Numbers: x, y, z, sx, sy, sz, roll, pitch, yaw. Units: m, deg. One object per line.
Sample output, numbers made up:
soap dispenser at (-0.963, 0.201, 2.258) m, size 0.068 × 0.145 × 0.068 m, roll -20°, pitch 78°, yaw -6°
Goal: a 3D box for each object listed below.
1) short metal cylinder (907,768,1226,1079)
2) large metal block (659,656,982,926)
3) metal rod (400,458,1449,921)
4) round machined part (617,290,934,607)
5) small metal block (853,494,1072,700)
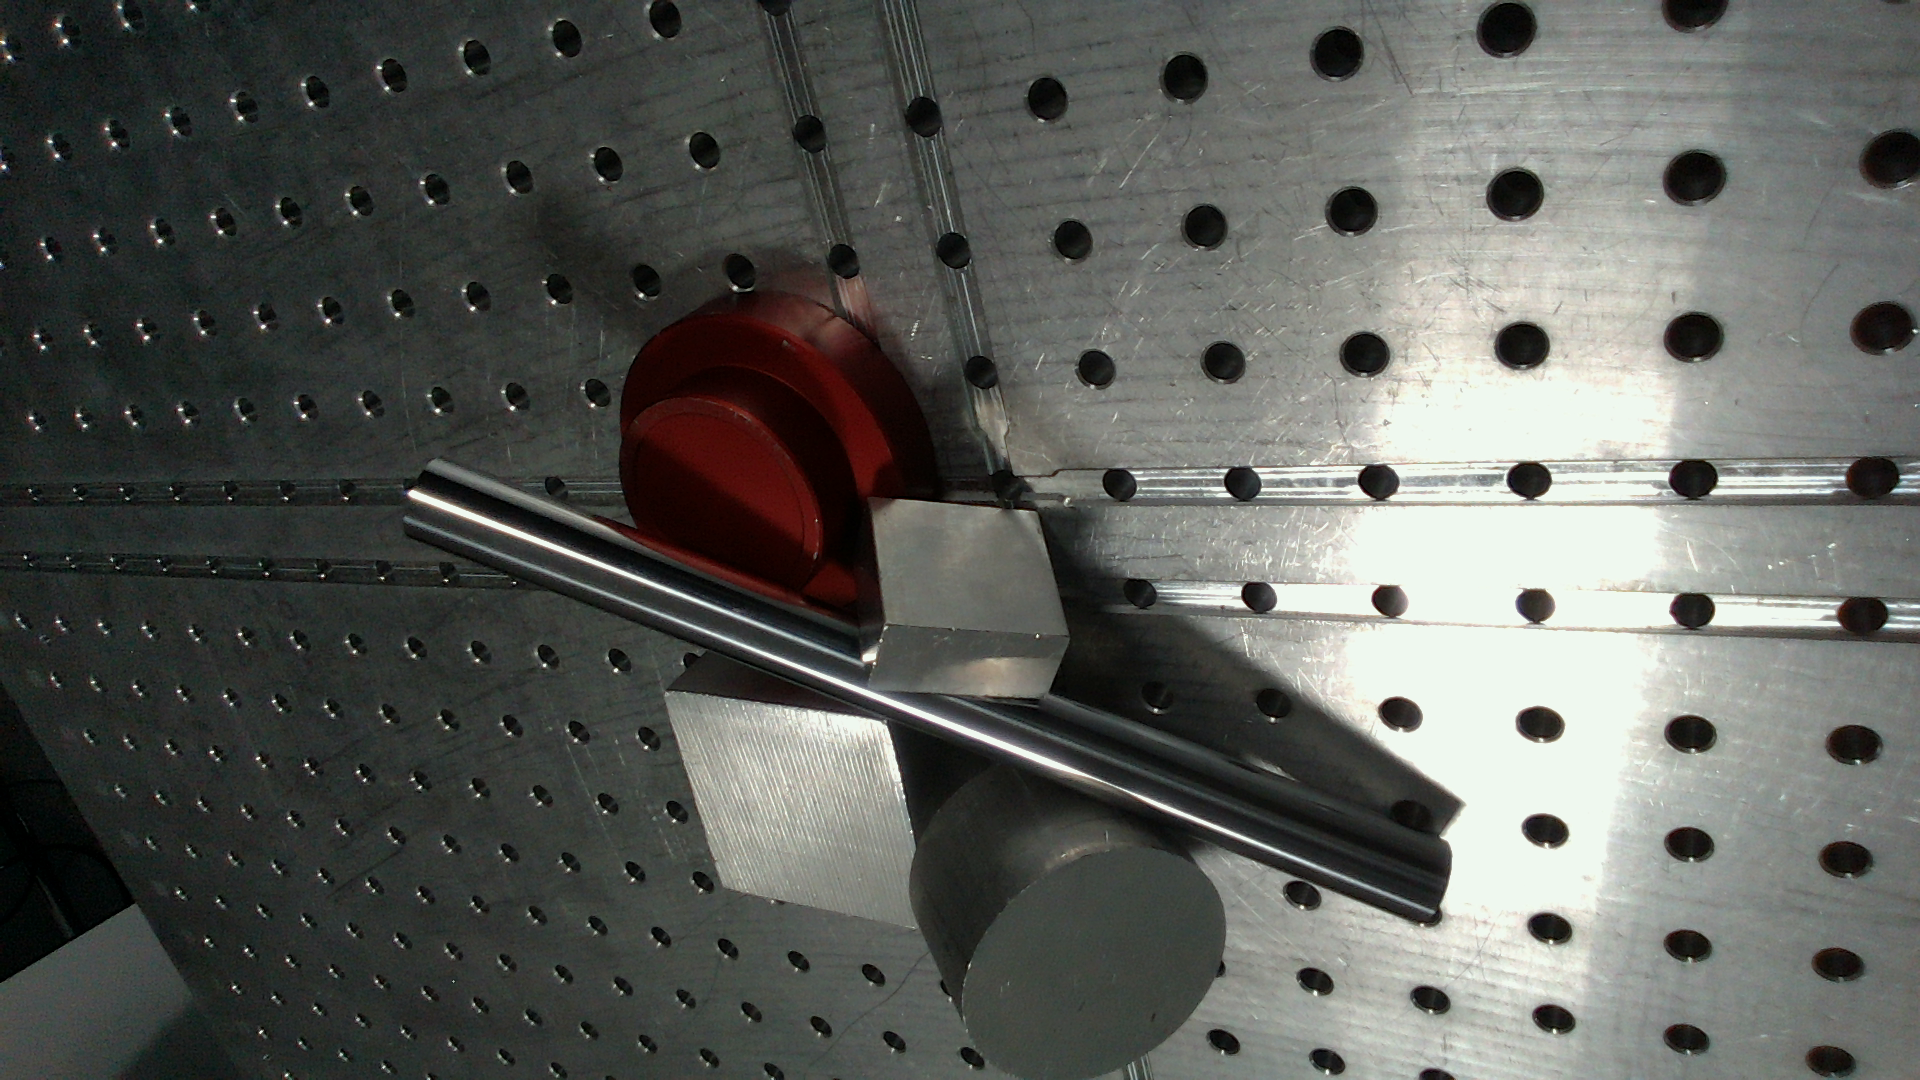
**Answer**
short metal cylinder at (0.030, 0.109, 0.403) m, size 0.080 × 0.050 × 0.080 m, roll -9°, pitch 116°, yaw -18°
large metal block at (-0.040, 0.071, 0.442) m, size 0.080 × 0.050 × 0.080 m, roll 5°, pitch 121°, yaw 26°
metal rod at (-0.010, 0.042, 0.385) m, size 0.300 × 0.025 × 0.025 m, roll 21°, pitch 128°, yaw 0°
round machined part at (-0.061, -0.020, 0.405) m, size 0.098 × 0.042 × 0.098 m, roll 13°, pitch 124°, yaw 21°
small metal block at (-0.001, 0.015, 0.377) m, size 0.050 × 0.050 × 0.025 m, roll 5°, pitch 132°, yaw -15°
